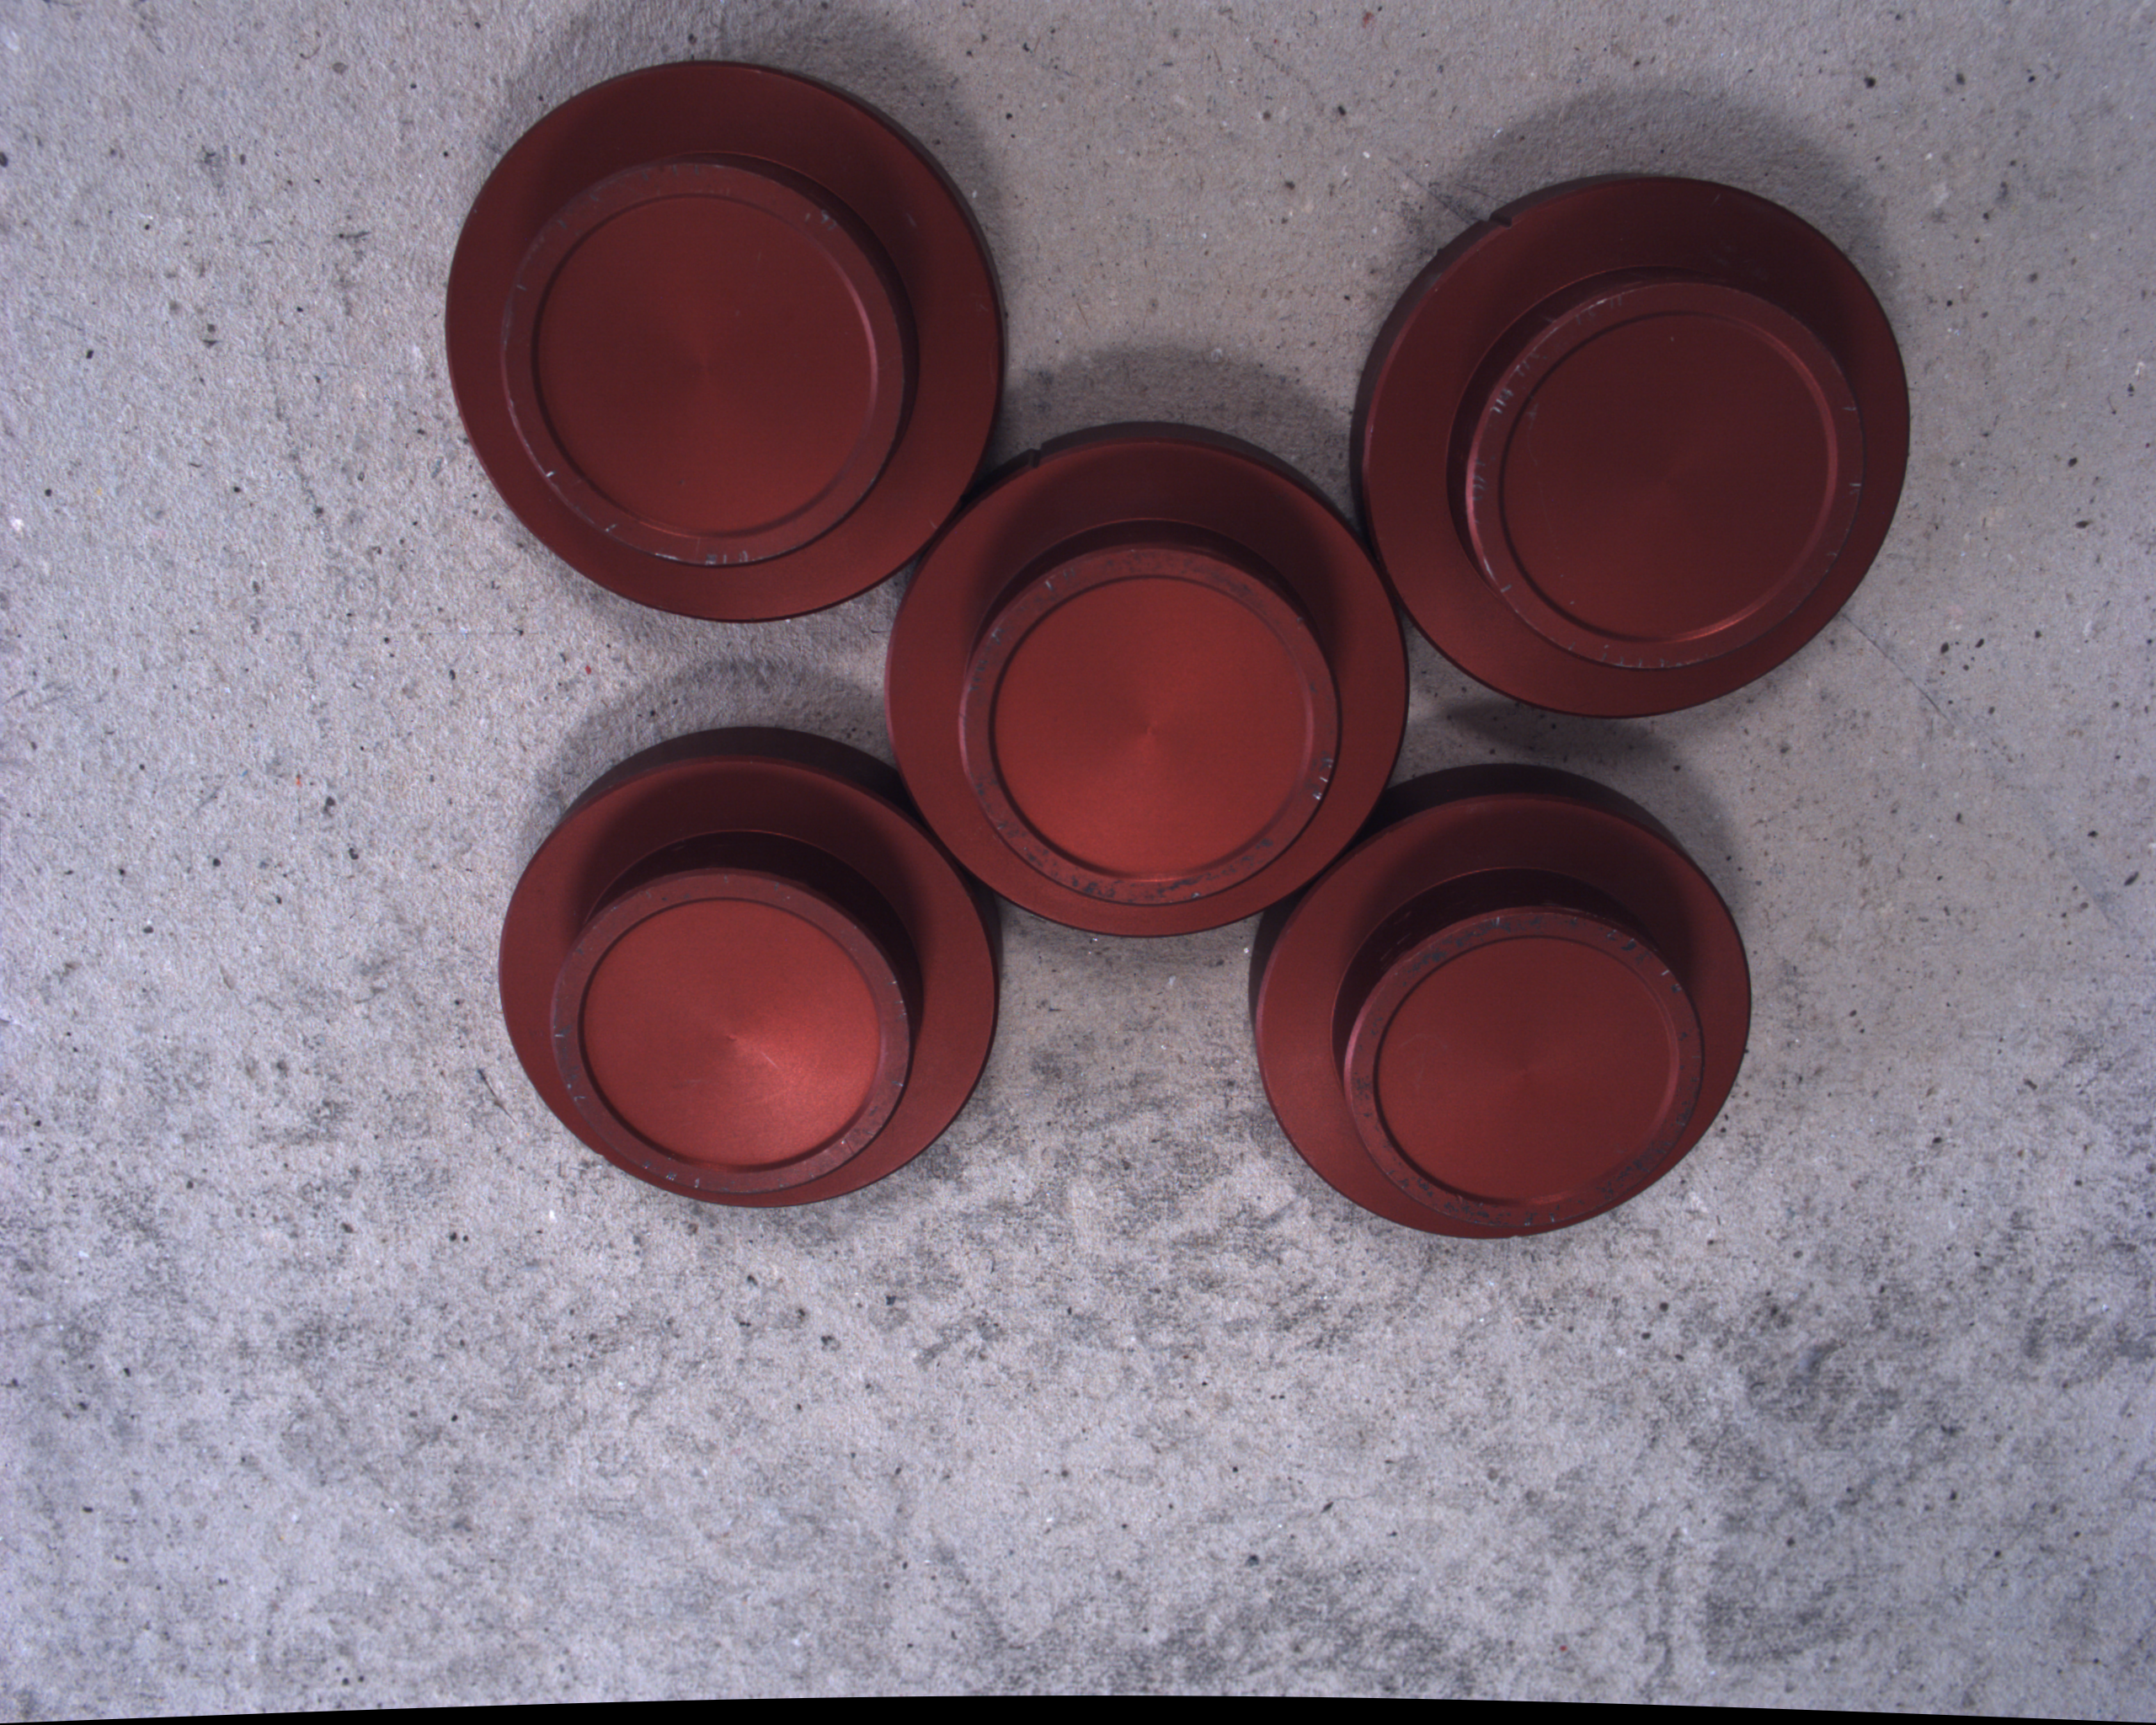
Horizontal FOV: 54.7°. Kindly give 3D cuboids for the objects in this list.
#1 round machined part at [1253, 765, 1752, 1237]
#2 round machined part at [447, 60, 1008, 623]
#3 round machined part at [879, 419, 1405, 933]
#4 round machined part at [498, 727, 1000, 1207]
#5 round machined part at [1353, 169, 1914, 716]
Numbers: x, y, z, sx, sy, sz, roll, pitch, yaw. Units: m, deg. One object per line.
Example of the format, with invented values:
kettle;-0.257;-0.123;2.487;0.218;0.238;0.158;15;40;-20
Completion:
round machined part;0.085;0.033;0.415;0.099;0.042;0.097;0;112;1
round machined part;-0.062;-0.089;0.368;0.099;0.042;0.097;0;110;0
round machined part;0.012;-0.031;0.390;0.099;0.042;0.097;0;112;1
round machined part;-0.065;0.026;0.410;0.099;0.042;0.097;0;111;-1
round machined part;0.101;-0.072;0.375;0.099;0.042;0.097;0;112;1
